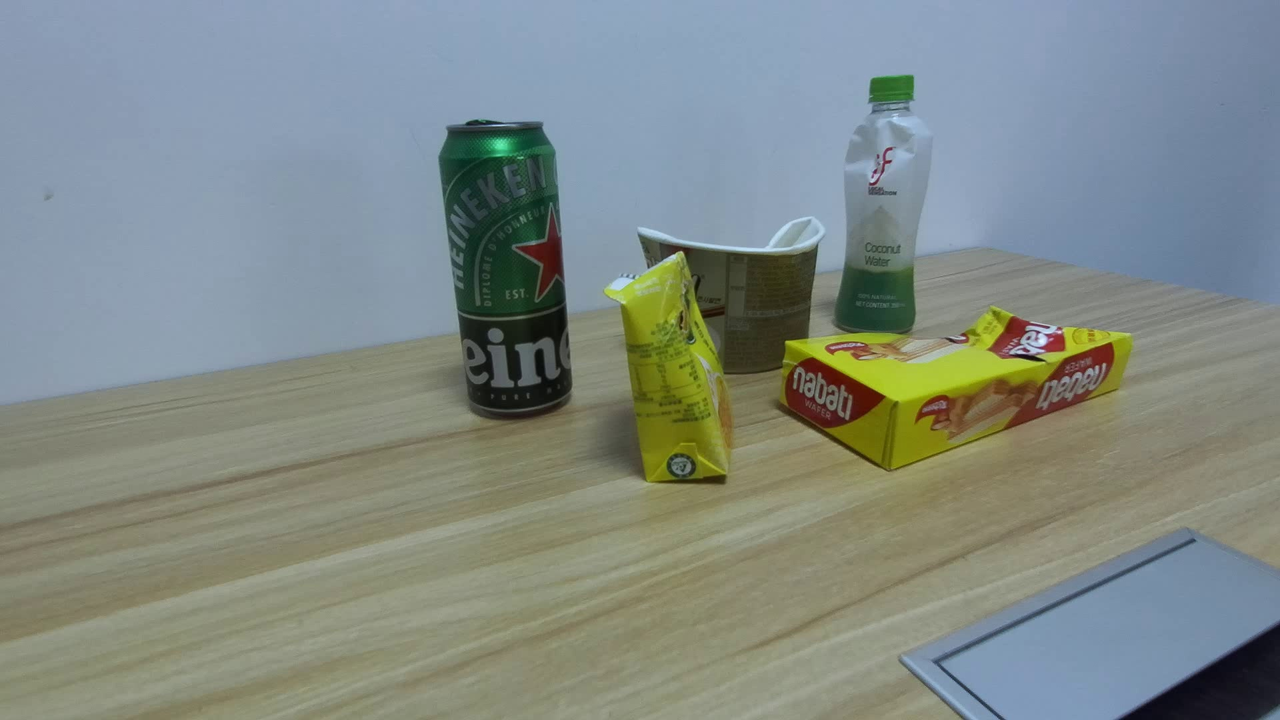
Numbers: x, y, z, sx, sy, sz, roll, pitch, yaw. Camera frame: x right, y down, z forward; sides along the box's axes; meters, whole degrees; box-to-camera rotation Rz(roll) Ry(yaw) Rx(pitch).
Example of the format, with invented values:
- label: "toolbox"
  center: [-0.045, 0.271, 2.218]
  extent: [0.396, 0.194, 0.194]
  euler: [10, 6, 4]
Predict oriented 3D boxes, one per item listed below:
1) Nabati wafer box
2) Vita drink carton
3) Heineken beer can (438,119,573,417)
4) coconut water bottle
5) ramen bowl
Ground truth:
- label: "Nabati wafer box"
  center: [0.192, 0.005, 0.434]
  extent: [0.205, 0.042, 0.106]
  euler: [-11, 24, -26]
- label: "Vita drink carton"
  center: [0.016, 0.002, 0.362]
  extent: [0.042, 0.108, 0.087]
  euler: [-11, 14, 15]
- label: "Heineken beer can"
  center: [-0.079, -0.052, 0.427]
  extent: [0.067, 0.169, 0.067]
  euler: [-2, 18, 1]
- label: "coconut water bottle"
  center: [0.185, -0.116, 0.541]
  extent: [0.069, 0.186, 0.069]
  euler: [-2, 18, 1]
- label: "ramen bowl"
  center: [0.065, -0.049, 0.507]
  extent: [0.137, 0.098, 0.137]
  euler: [-4, 21, 2]
